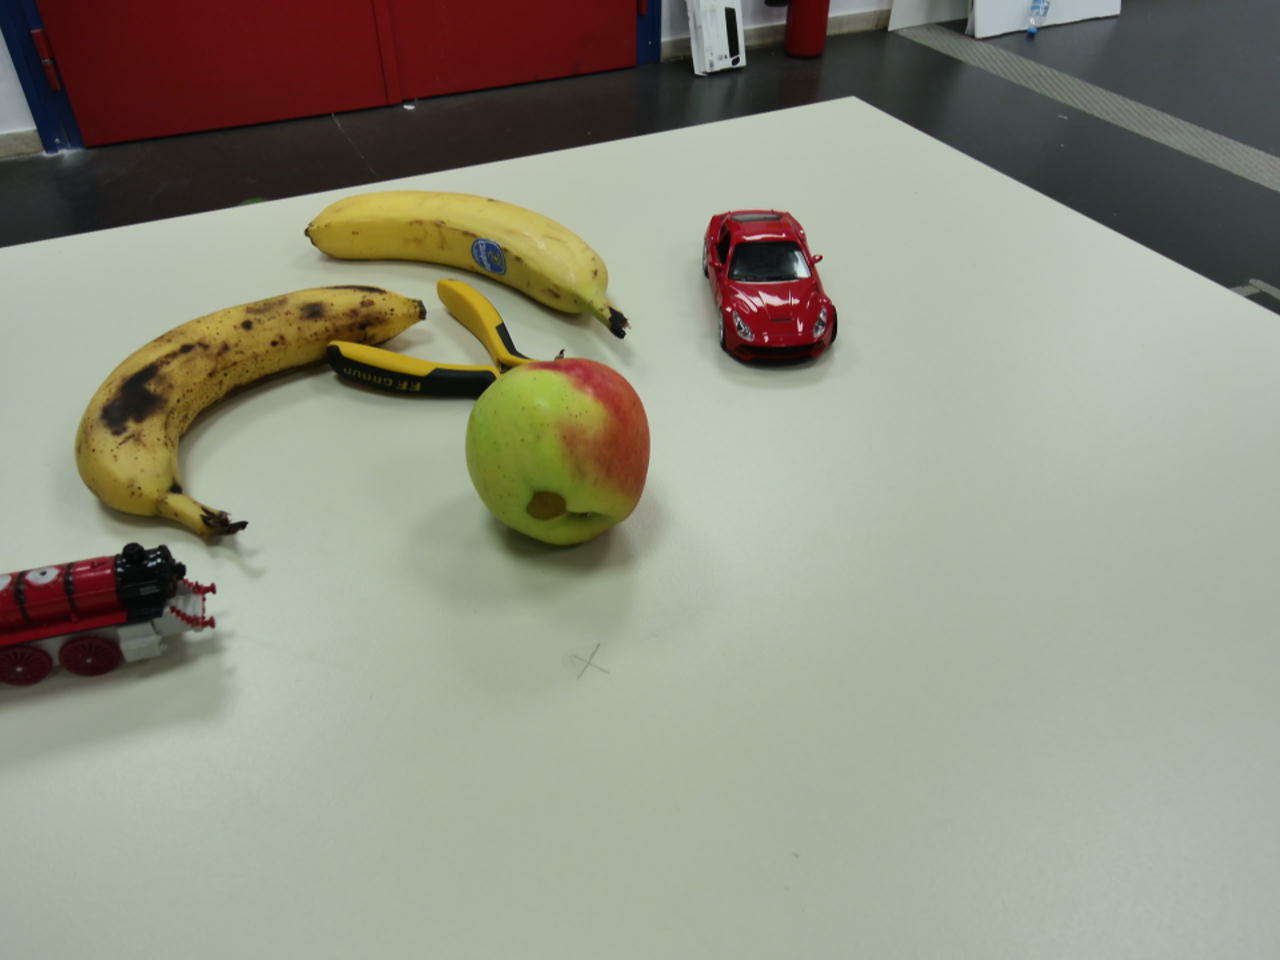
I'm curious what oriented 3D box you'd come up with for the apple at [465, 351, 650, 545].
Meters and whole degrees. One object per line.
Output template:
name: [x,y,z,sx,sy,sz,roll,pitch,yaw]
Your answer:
apple: [-0.032,-0.013,0.405,0.075,0.074,0.075,31,47,33]
